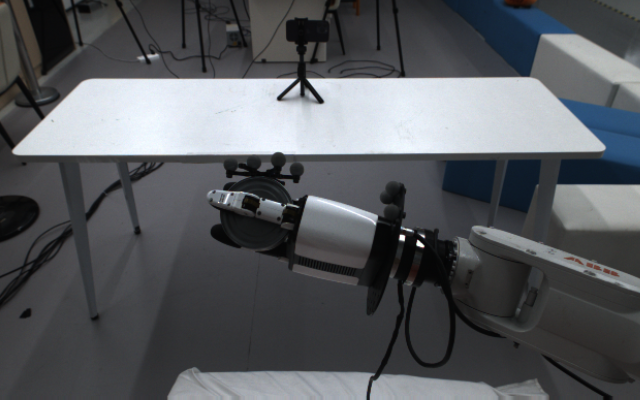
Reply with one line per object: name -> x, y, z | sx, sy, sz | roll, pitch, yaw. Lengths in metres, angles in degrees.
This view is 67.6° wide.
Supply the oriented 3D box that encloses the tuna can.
tuna can -> -0.071, 0.017, 0.569 | 0.085, 0.034, 0.085 | 0, 76, 0
